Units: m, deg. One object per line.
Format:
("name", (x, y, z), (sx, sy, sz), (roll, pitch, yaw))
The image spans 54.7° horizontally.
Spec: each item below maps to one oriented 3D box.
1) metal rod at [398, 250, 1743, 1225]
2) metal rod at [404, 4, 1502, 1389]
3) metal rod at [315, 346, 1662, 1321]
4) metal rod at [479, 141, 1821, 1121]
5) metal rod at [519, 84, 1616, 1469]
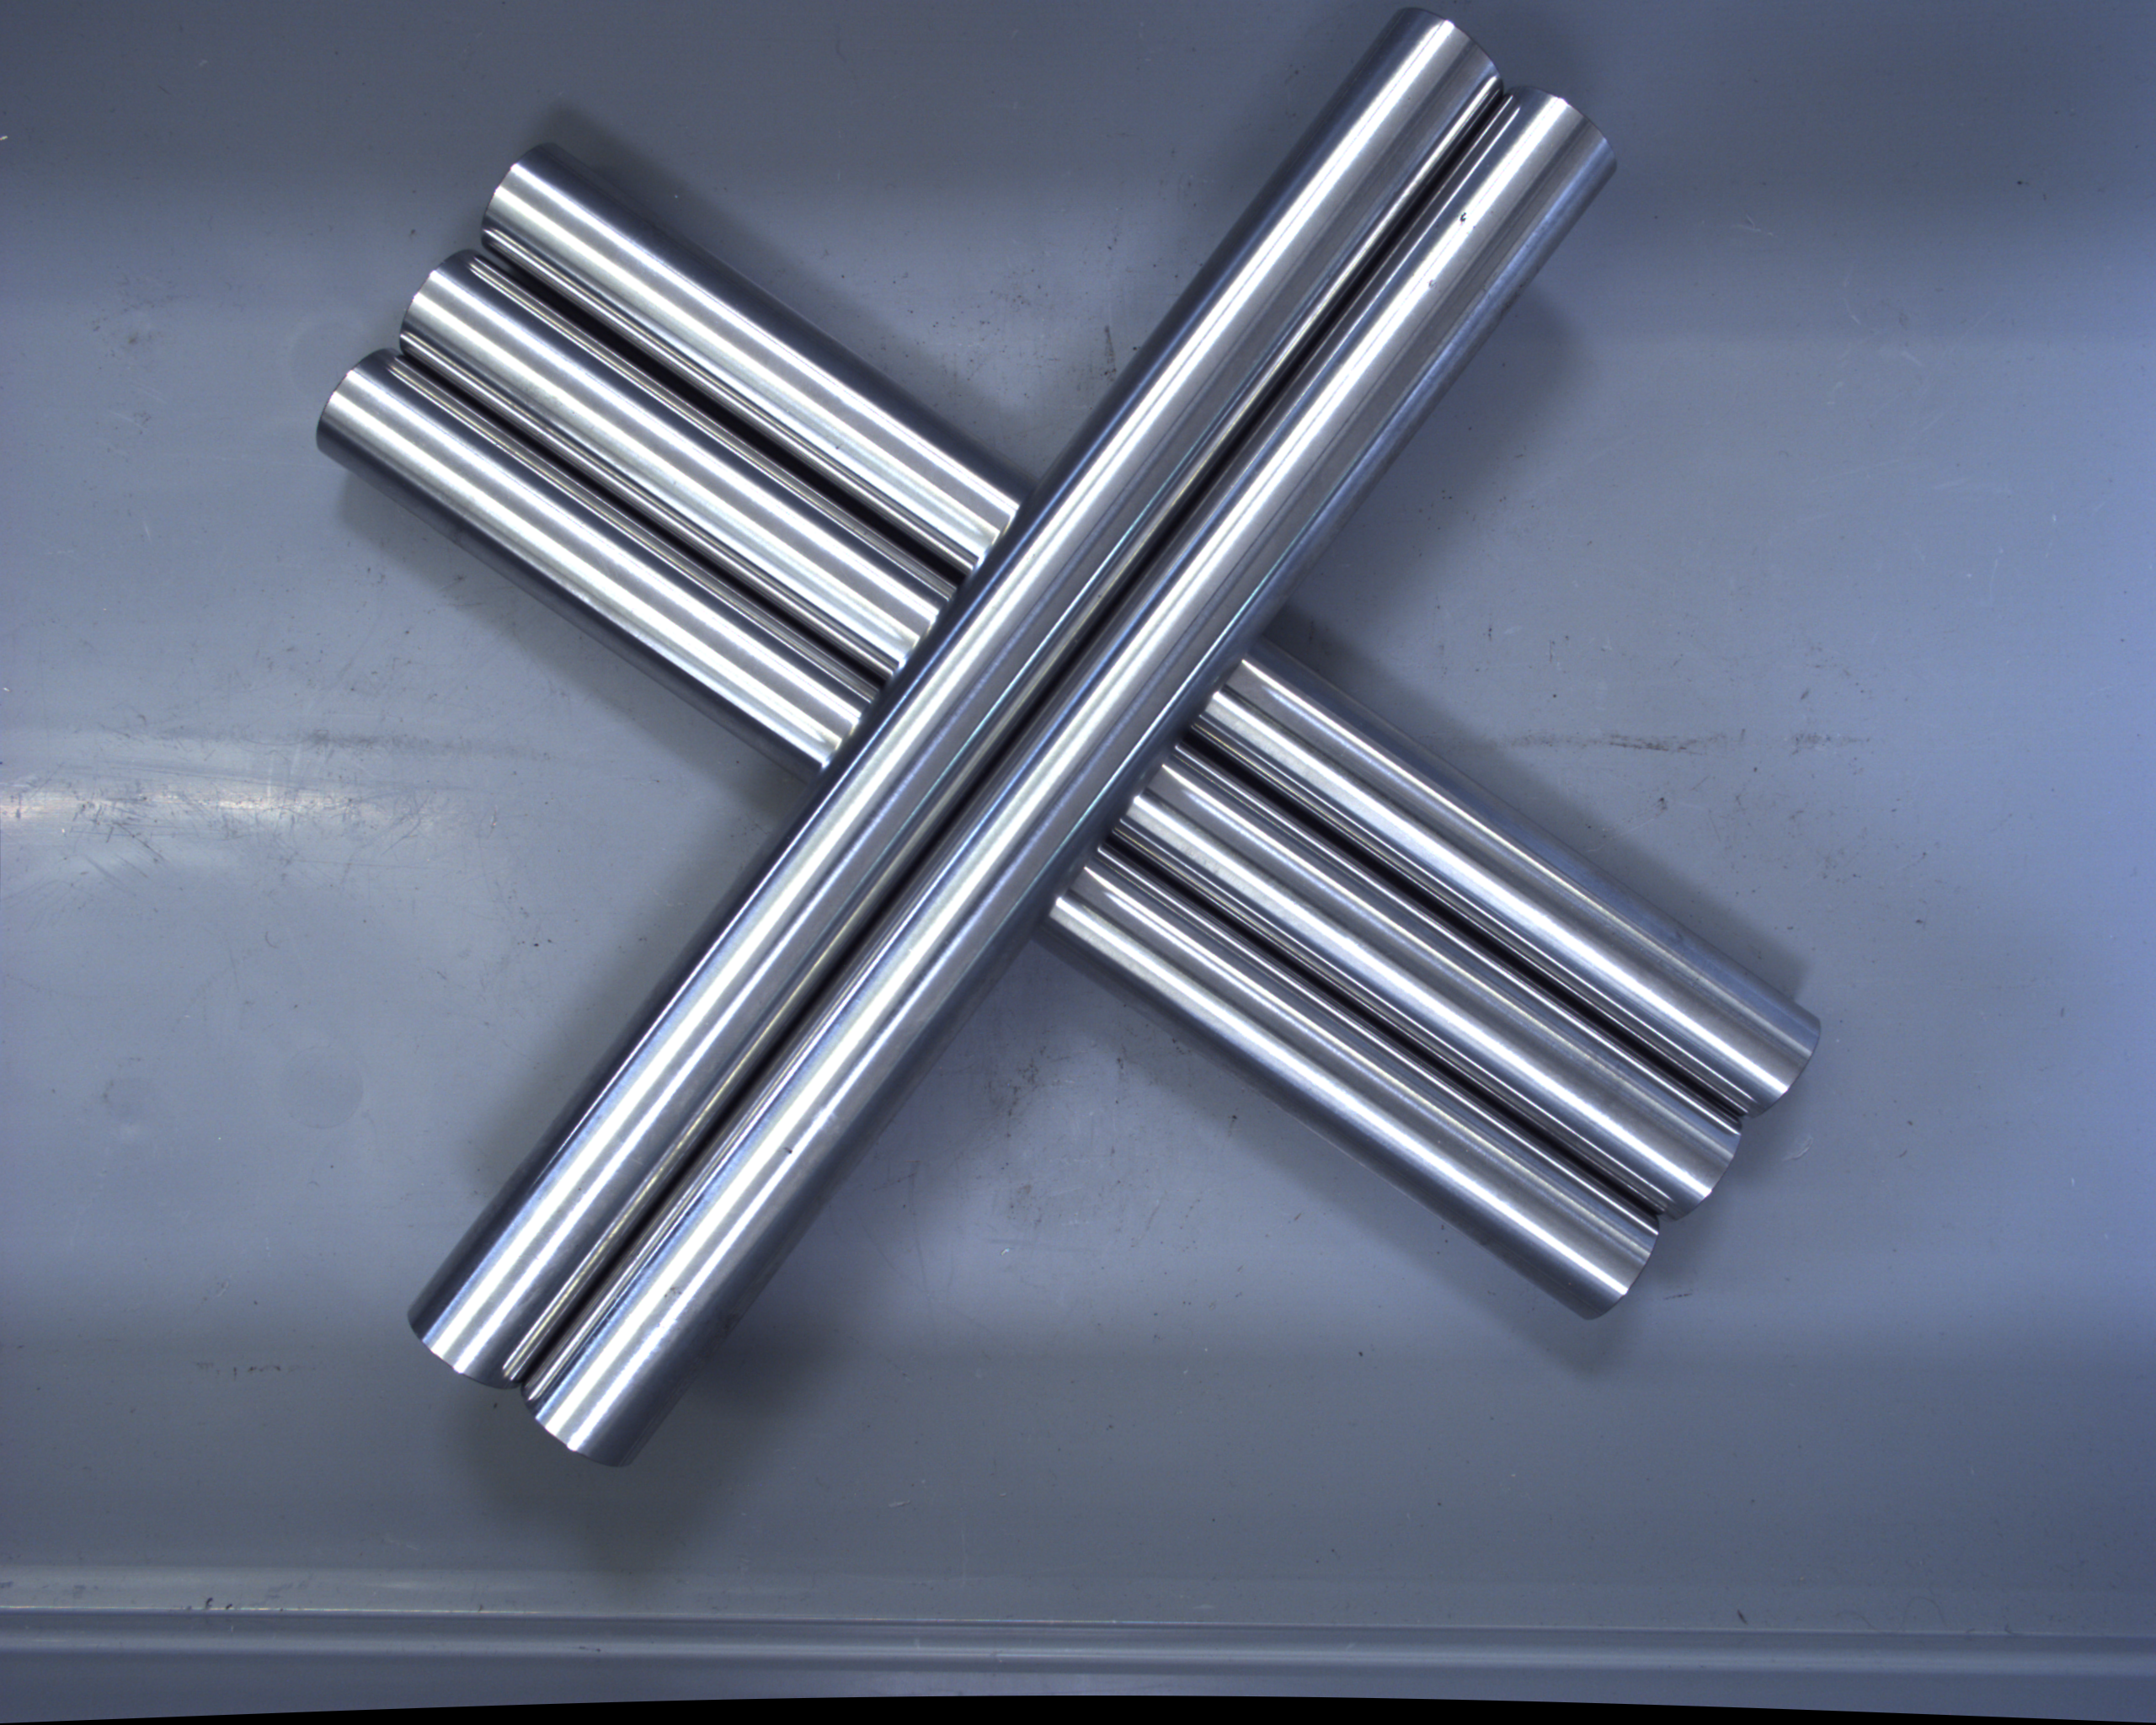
("metal rod", (-0.001, -0.024, 0.410), (0.301, 0.025, 0.025), (34, 90, 0))
("metal rod", (-0.023, -0.030, 0.385), (0.025, 0.025, 0.300), (37, 90, 0))
("metal rod", (-0.017, -0.005, 0.410), (0.301, 0.025, 0.025), (34, 90, 0))
("metal rod", (0.014, -0.045, 0.410), (0.301, 0.025, 0.025), (35, 90, 0))
("metal rod", (-0.002, -0.016, 0.385), (0.025, 0.025, 0.300), (37, 90, 0))
